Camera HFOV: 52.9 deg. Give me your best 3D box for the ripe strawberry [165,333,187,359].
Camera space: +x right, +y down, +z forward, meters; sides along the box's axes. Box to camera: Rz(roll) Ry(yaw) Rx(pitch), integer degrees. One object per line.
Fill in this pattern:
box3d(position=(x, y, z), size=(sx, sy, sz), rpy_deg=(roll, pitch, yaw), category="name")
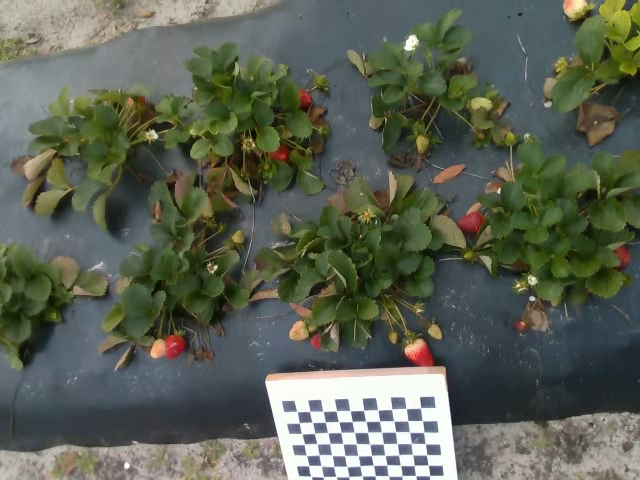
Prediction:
box3d(position=(-0.235, 0.171, 1.008), size=(0.034, 0.042, 0.033), rpy_deg=(23, -35, 2), category="ripe strawberry")
